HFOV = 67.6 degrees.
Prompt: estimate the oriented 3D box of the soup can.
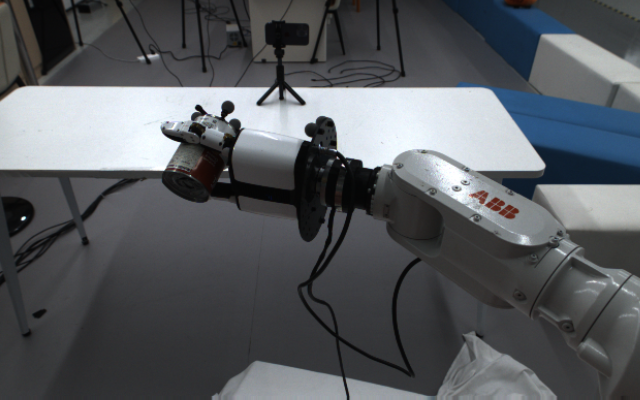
[{"bbox_3d":[-0.159,-0.056,0.651,0.067,0.067,0.101,12,59,14],"label":"soup can"}]
